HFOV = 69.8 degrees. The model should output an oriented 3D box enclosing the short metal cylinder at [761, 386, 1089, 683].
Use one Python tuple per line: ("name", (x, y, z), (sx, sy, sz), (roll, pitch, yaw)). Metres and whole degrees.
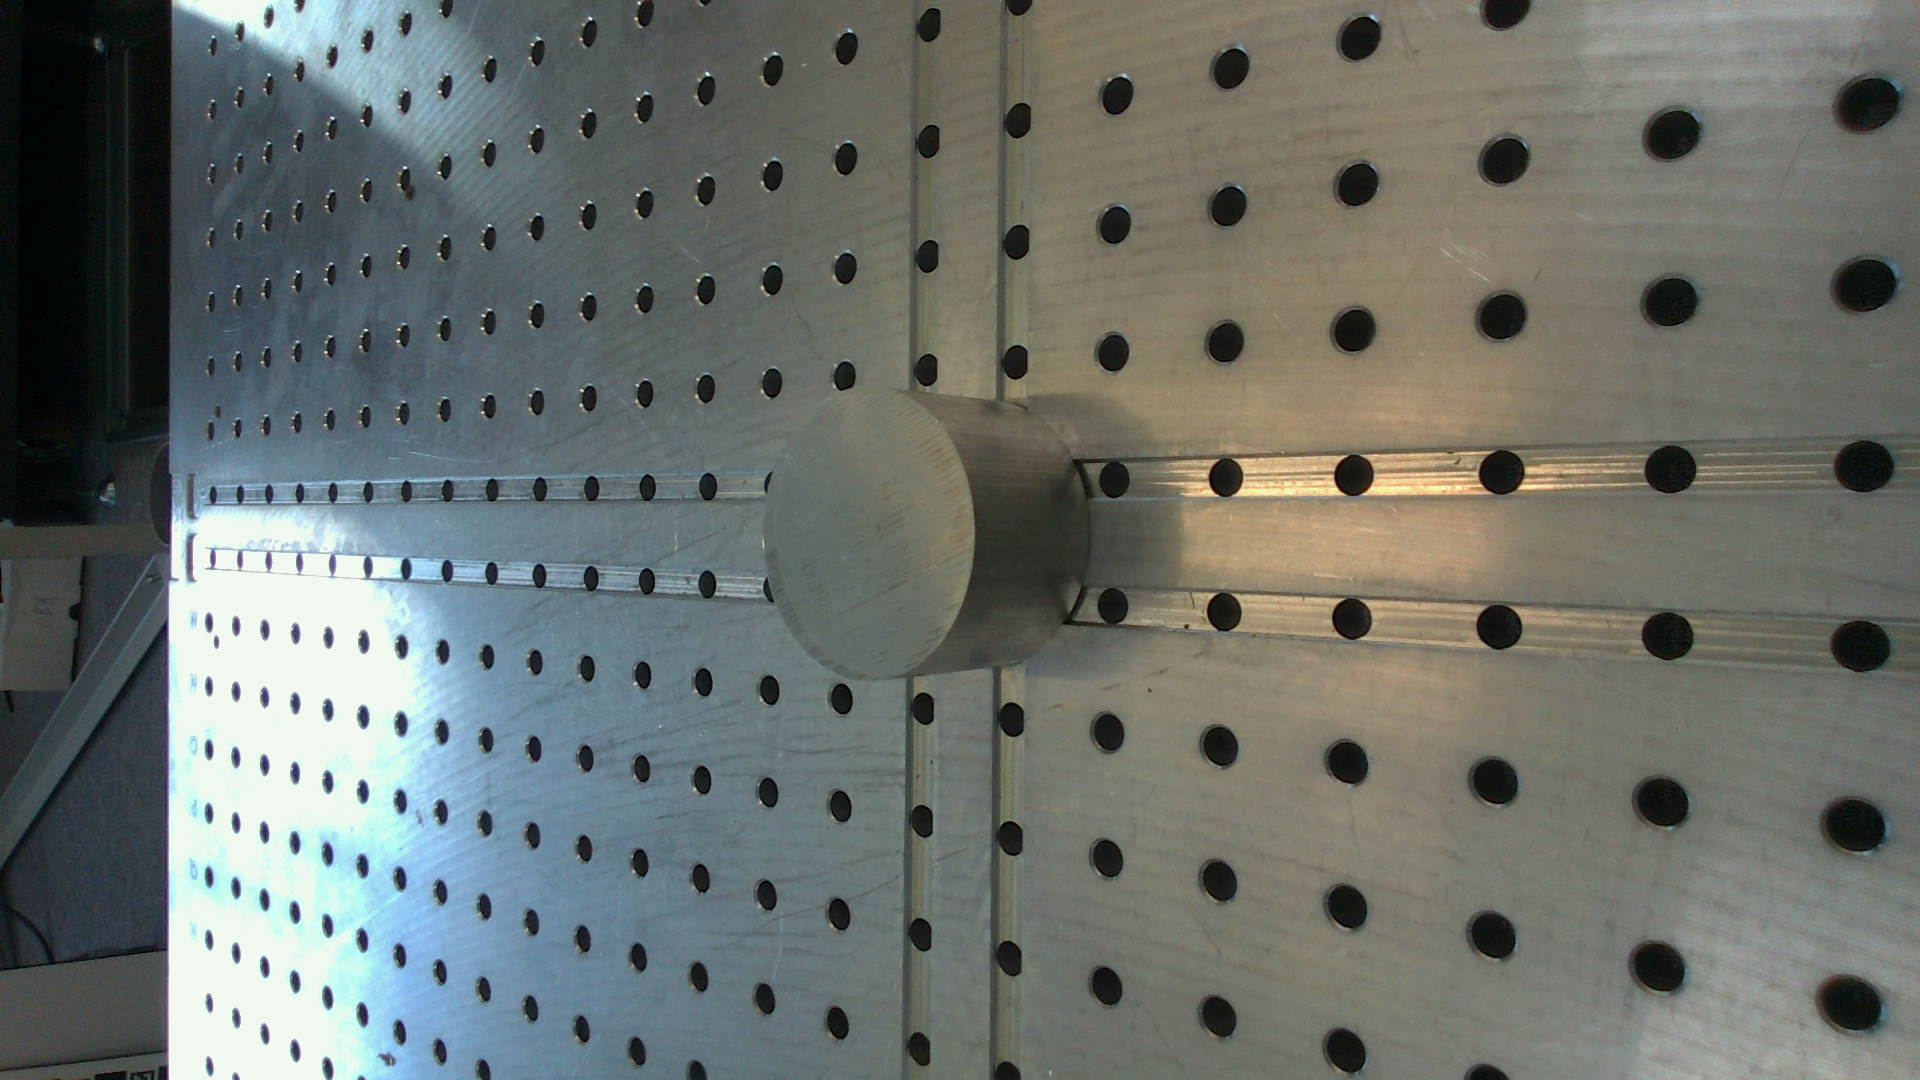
("short metal cylinder", (-0.011, -0.001, 0.390), (0.080, 0.050, 0.080), (0, 90, 40))
